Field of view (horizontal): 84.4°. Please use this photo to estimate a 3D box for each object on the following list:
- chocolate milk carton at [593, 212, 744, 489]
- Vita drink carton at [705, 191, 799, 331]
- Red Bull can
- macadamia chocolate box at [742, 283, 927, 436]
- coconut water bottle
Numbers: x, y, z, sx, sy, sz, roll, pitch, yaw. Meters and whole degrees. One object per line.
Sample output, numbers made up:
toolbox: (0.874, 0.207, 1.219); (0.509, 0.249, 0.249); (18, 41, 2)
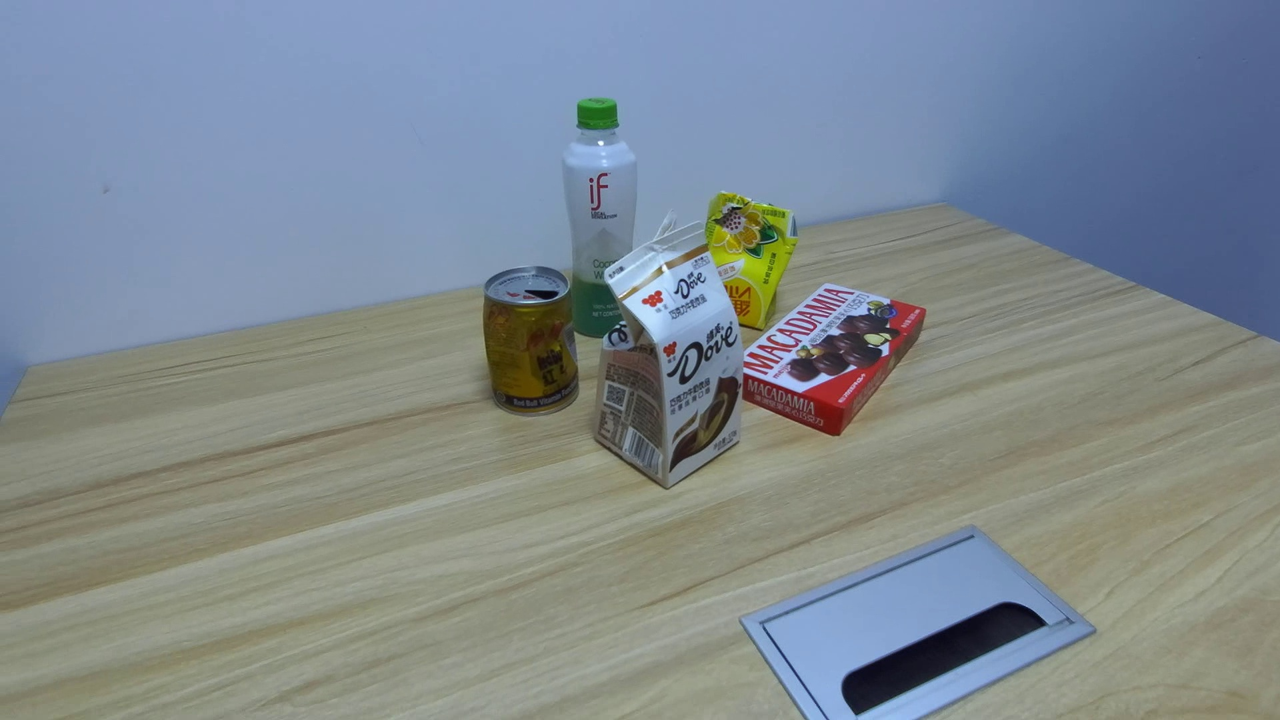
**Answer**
chocolate milk carton: (0.018, -0.010, 0.447); (0.076, 0.156, 0.073); (-26, 38, -36)
Vita drink carton: (0.093, -0.089, 0.623); (0.086, 0.108, 0.042); (18, 21, 21)
Red Bull can: (-0.079, -0.014, 0.516); (0.072, 0.092, 0.072); (0, 31, 0)
macadamia chocolate box: (0.154, -0.008, 0.566); (0.095, 0.027, 0.178); (21, 38, 31)
coconut water bottle: (-0.032, -0.116, 0.588); (0.063, 0.189, 0.063); (0, 33, 1)
